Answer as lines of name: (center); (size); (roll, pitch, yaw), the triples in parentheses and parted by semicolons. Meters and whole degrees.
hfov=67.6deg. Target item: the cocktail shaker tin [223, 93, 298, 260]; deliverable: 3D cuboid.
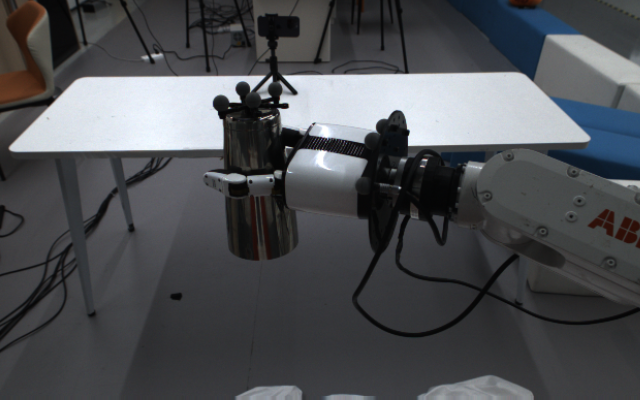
cocktail shaker tin: (-0.073, -0.023, 0.589); (0.093, 0.170, 0.093); (-2, 26, 1)
